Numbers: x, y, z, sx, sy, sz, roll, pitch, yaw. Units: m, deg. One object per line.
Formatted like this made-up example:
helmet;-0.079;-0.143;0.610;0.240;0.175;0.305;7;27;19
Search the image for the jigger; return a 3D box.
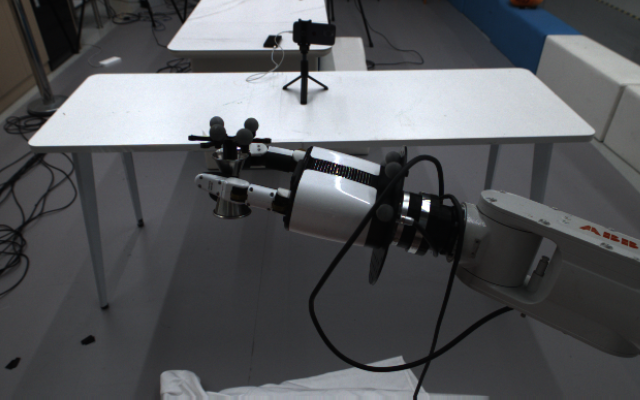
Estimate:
jigger;-0.099;-0.019;0.549;0.043;0.071;0.043;1;20;-1
